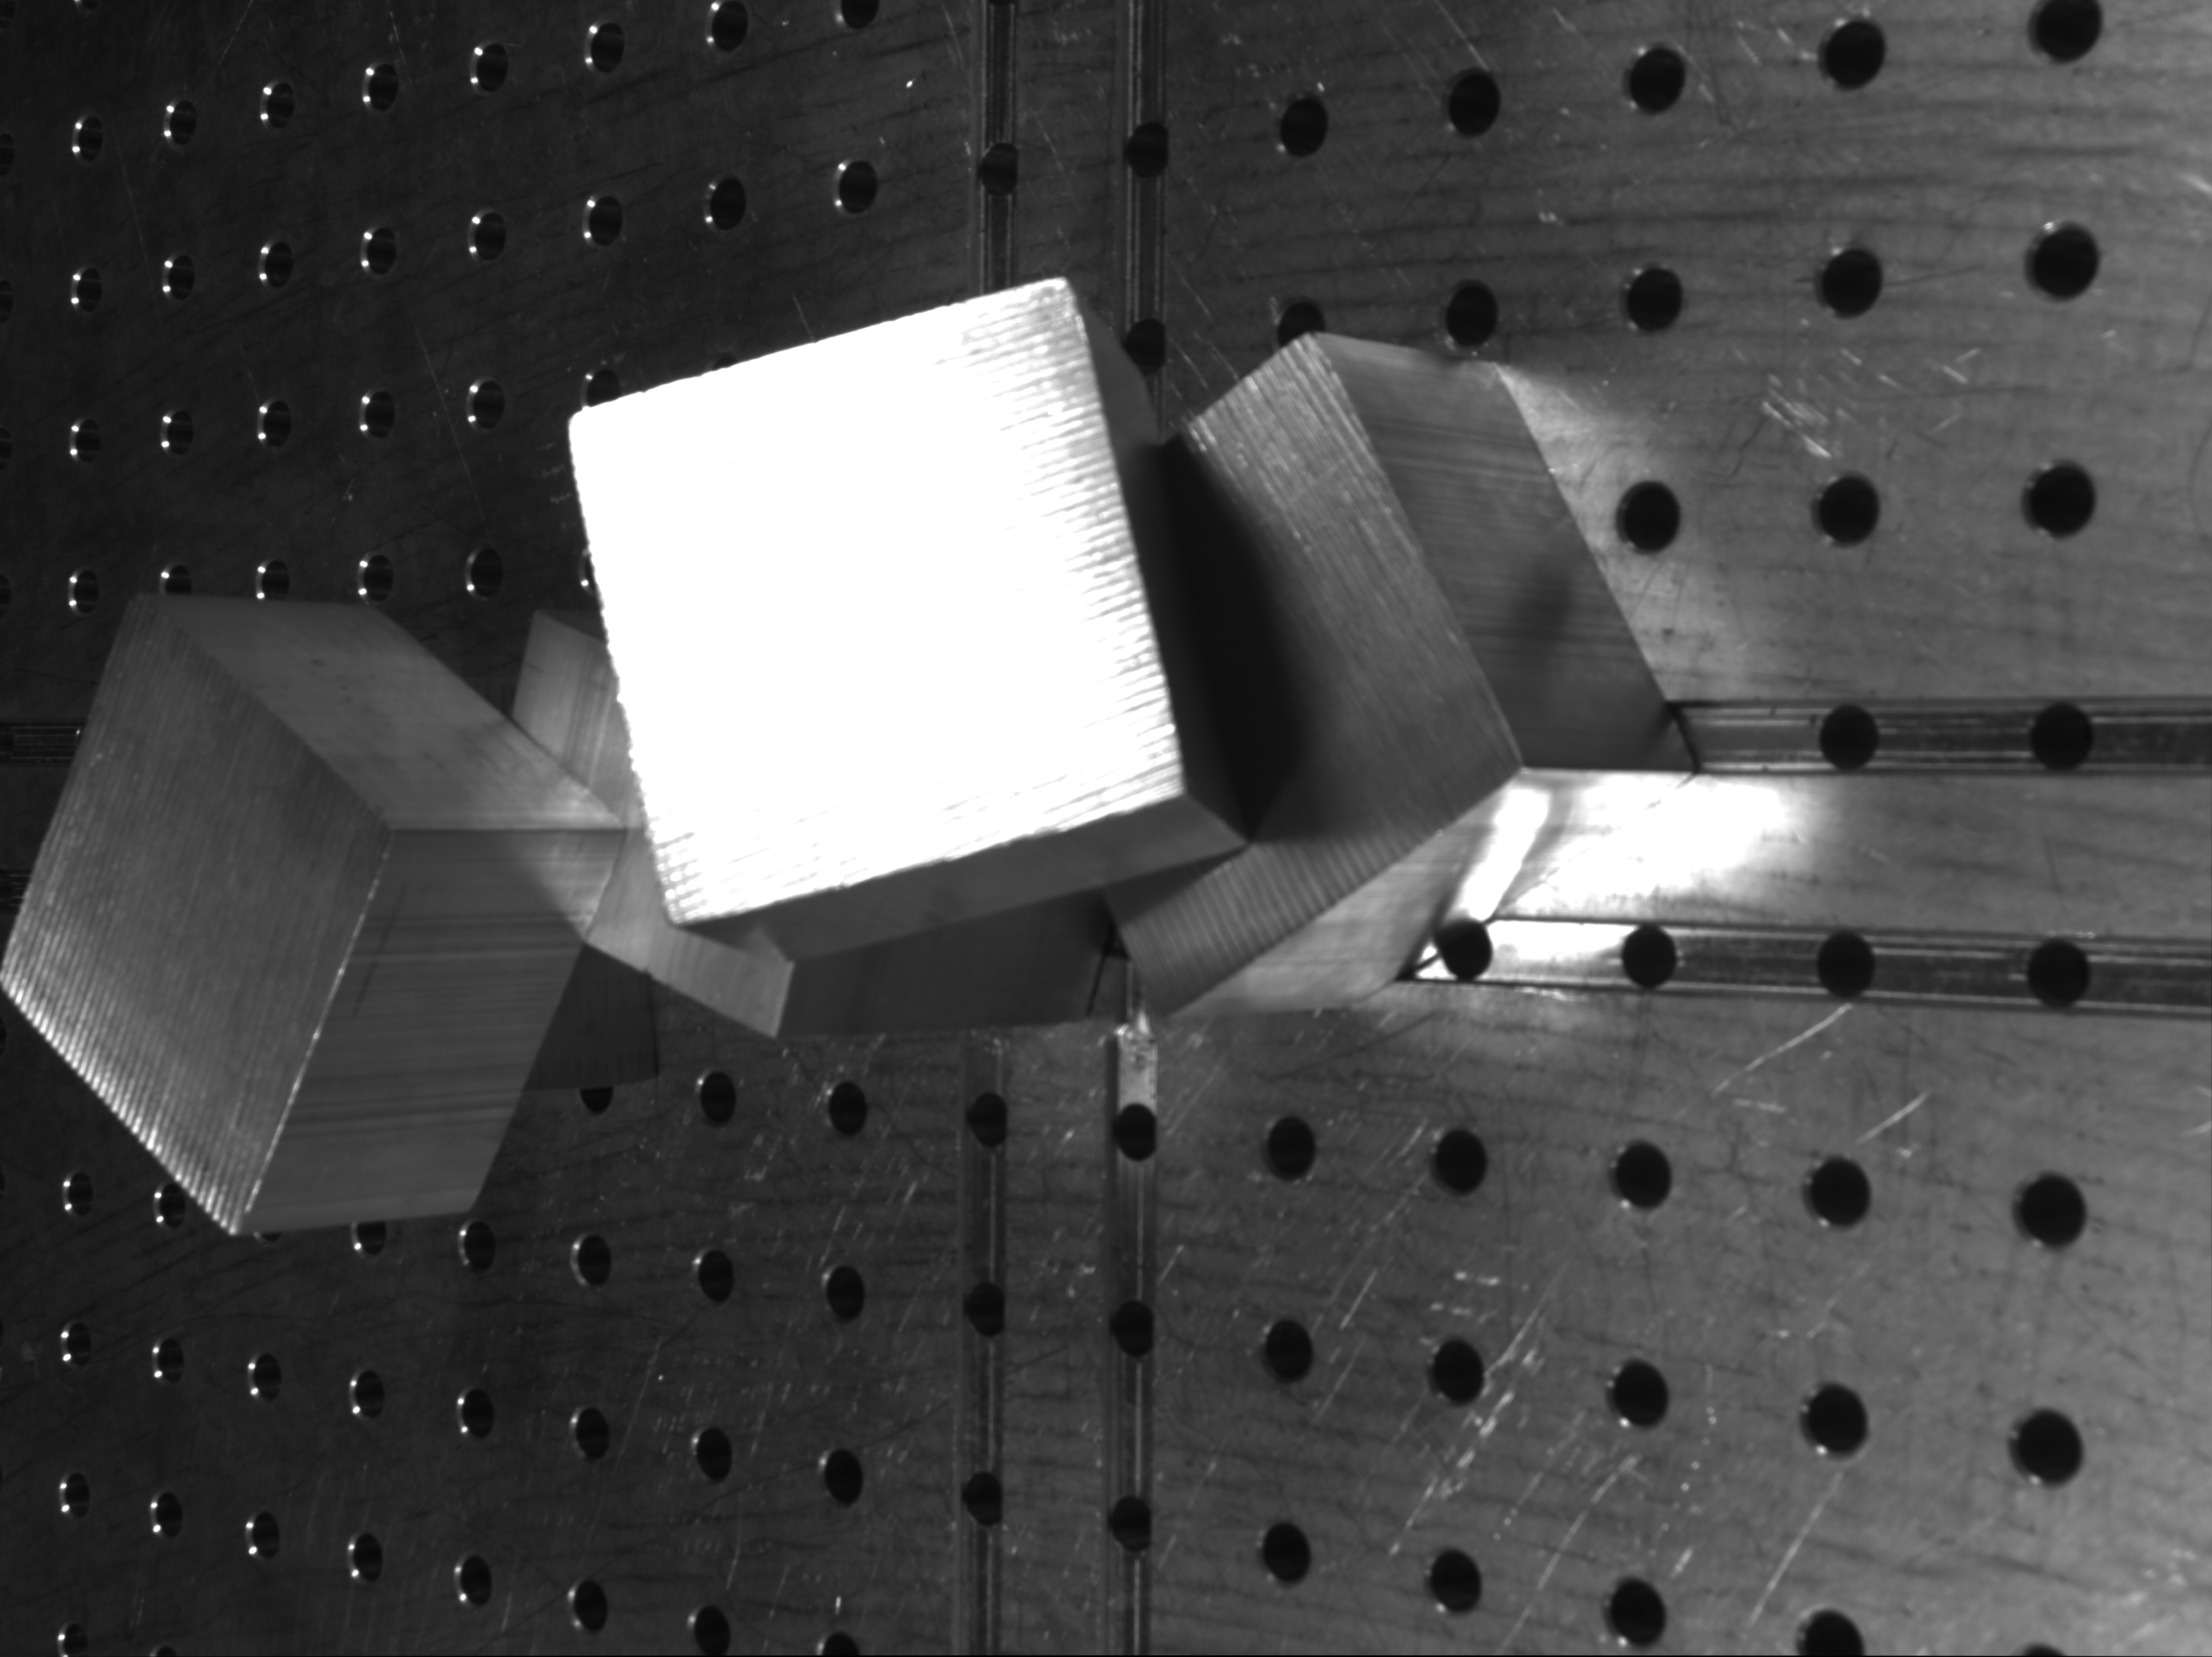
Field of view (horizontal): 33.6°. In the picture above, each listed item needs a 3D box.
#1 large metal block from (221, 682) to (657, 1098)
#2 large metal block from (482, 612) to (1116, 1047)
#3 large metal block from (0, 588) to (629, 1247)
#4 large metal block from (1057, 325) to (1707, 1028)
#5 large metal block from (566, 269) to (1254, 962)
[{"bbox_3d":[-0.137,0.014,0.716,0.050,0.080,0.080,-8,85,39],"label":"large metal block"},{"bbox_3d":[-0.051,-0.001,0.645,0.080,0.080,0.050,24,105,37],"label":"large metal block"},{"bbox_3d":[-0.138,0.014,0.632,0.080,0.050,0.080,38,113,33],"label":"large metal block"},{"bbox_3d":[0.037,-0.023,0.593,0.080,0.050,0.080,-37,67,33],"label":"large metal block"},{"bbox_3d":[-0.029,-0.030,0.558,0.080,0.050,0.080,-14,80,9],"label":"large metal block"}]
